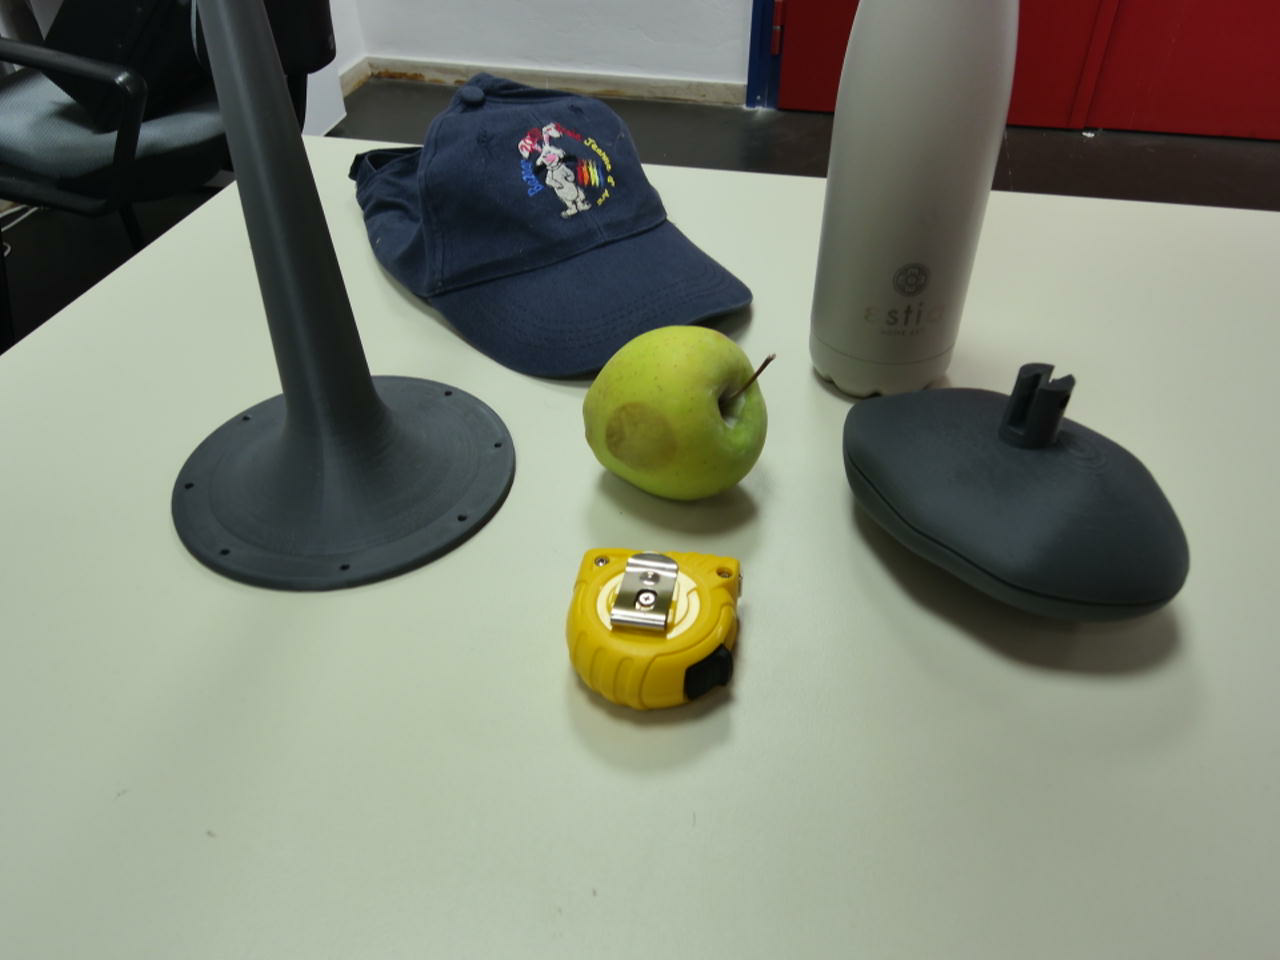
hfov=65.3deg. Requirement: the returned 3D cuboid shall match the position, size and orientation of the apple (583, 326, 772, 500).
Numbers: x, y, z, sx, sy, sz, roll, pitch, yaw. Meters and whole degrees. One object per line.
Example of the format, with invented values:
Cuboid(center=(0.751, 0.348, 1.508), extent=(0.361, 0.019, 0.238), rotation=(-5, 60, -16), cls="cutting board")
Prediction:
Cuboid(center=(0.016, -0.030, 0.428), extent=(0.072, 0.075, 0.077), rotation=(-21, 43, -25), cls="apple")
